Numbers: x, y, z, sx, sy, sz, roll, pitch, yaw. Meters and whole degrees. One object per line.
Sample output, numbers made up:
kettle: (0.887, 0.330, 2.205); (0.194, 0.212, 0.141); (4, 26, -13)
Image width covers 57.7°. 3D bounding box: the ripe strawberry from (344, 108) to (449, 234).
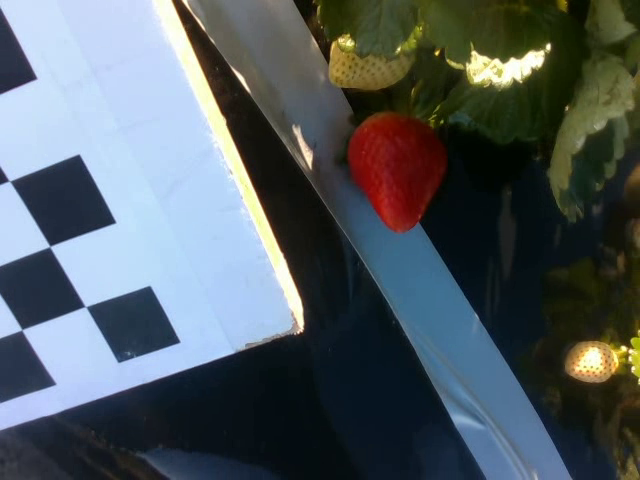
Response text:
ripe strawberry: (0.030, -0.027, 0.235); (0.045, 0.064, 0.049); (4, -40, 1)
